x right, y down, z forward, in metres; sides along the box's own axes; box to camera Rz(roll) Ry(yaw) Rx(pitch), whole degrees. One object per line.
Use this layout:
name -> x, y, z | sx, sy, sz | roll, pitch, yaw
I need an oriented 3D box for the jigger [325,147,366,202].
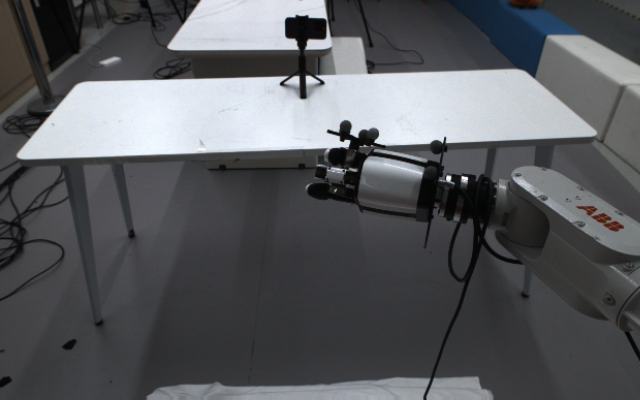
jigger -> 0.040, -0.041, 0.711 | 0.043, 0.071, 0.043 | 17, 2, -1
